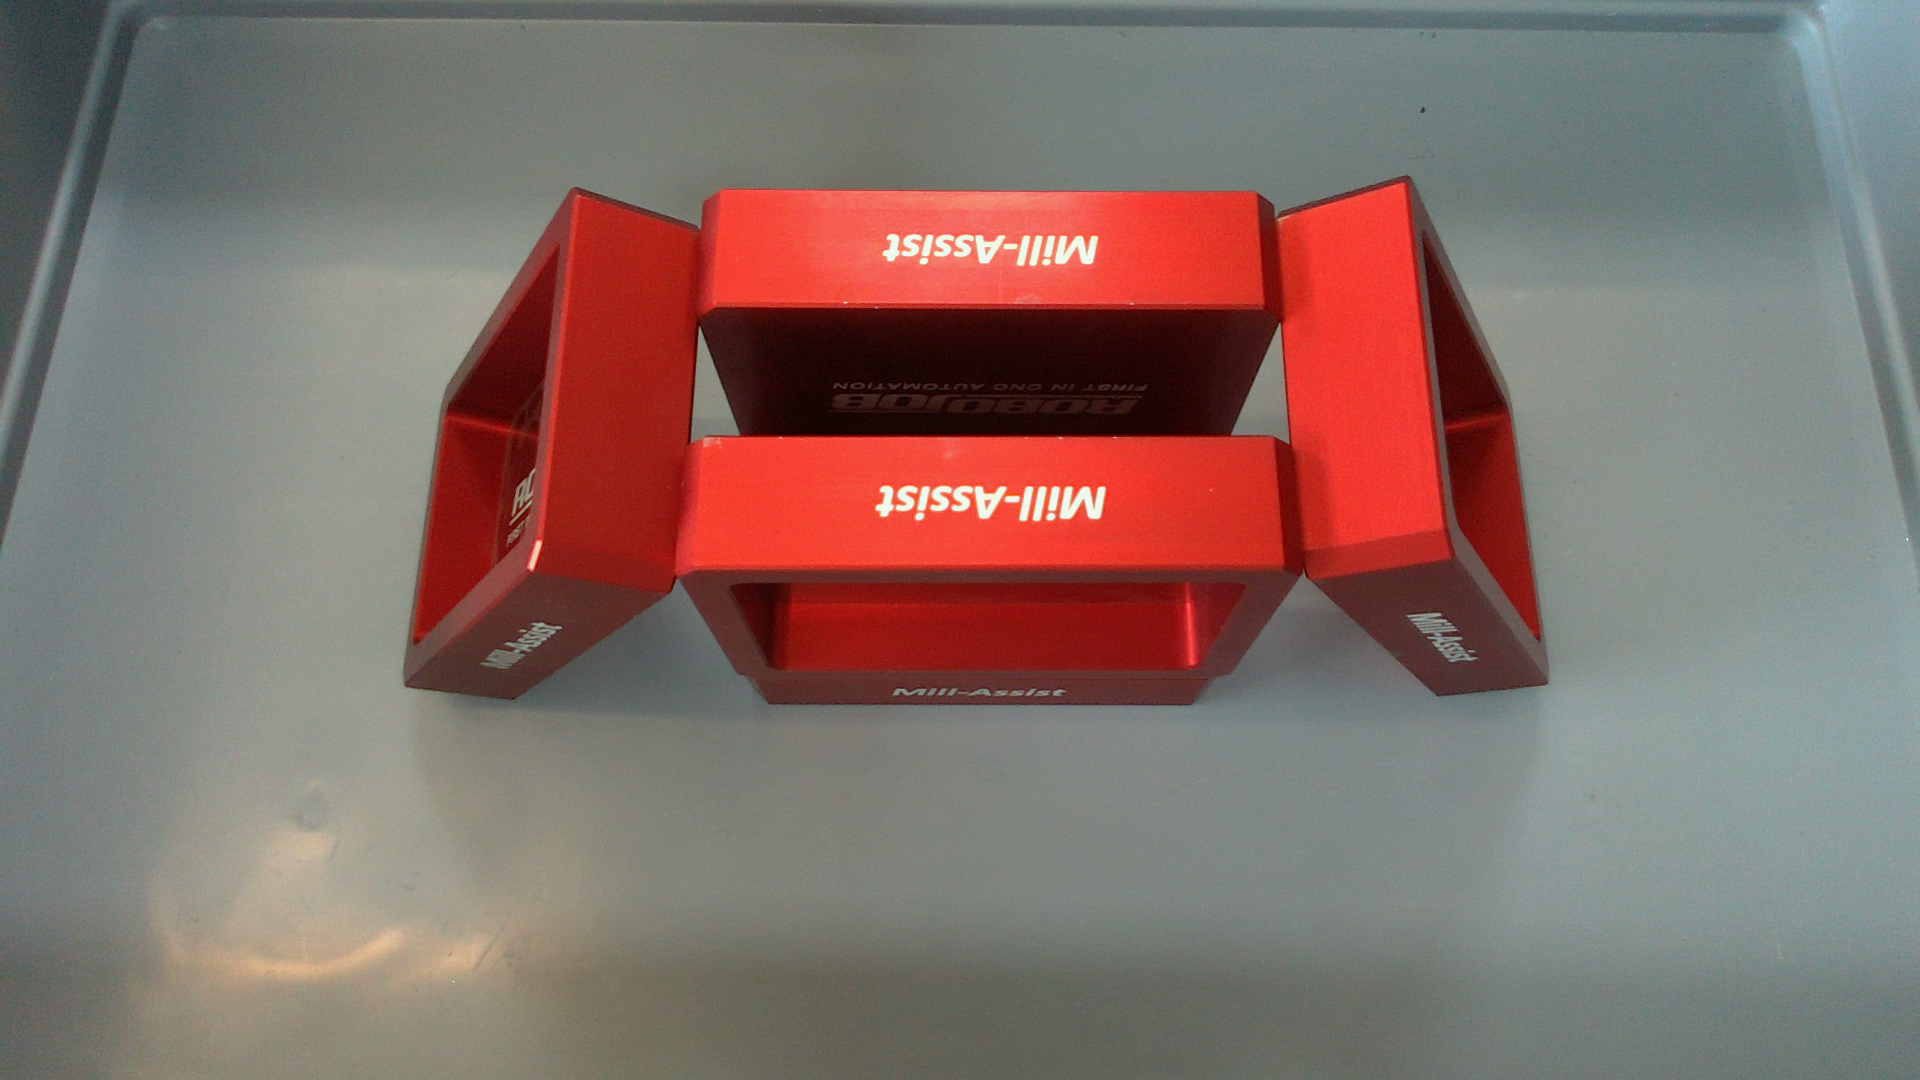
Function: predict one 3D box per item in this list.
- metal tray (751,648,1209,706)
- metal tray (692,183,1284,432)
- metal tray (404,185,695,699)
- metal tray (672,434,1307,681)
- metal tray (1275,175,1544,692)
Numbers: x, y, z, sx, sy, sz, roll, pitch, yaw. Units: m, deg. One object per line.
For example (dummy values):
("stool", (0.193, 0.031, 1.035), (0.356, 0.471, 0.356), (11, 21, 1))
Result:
("metal tray", (0.006, 0.000, 0.391), (0.130, 0.030, 0.090), (0, 70, -1))
("metal tray", (0.006, -0.050, 0.344), (0.130, 0.090, 0.030), (0, 70, 0))
("metal tray", (-0.105, -0.017, 0.345), (0.030, 0.130, 0.090), (12, 67, -30))
("metal tray", (0.006, 0.007, 0.324), (0.130, 0.090, 0.030), (0, 70, -1))
("metal tray", (0.116, -0.019, 0.346), (0.030, 0.130, 0.090), (-11, 68, 28))
